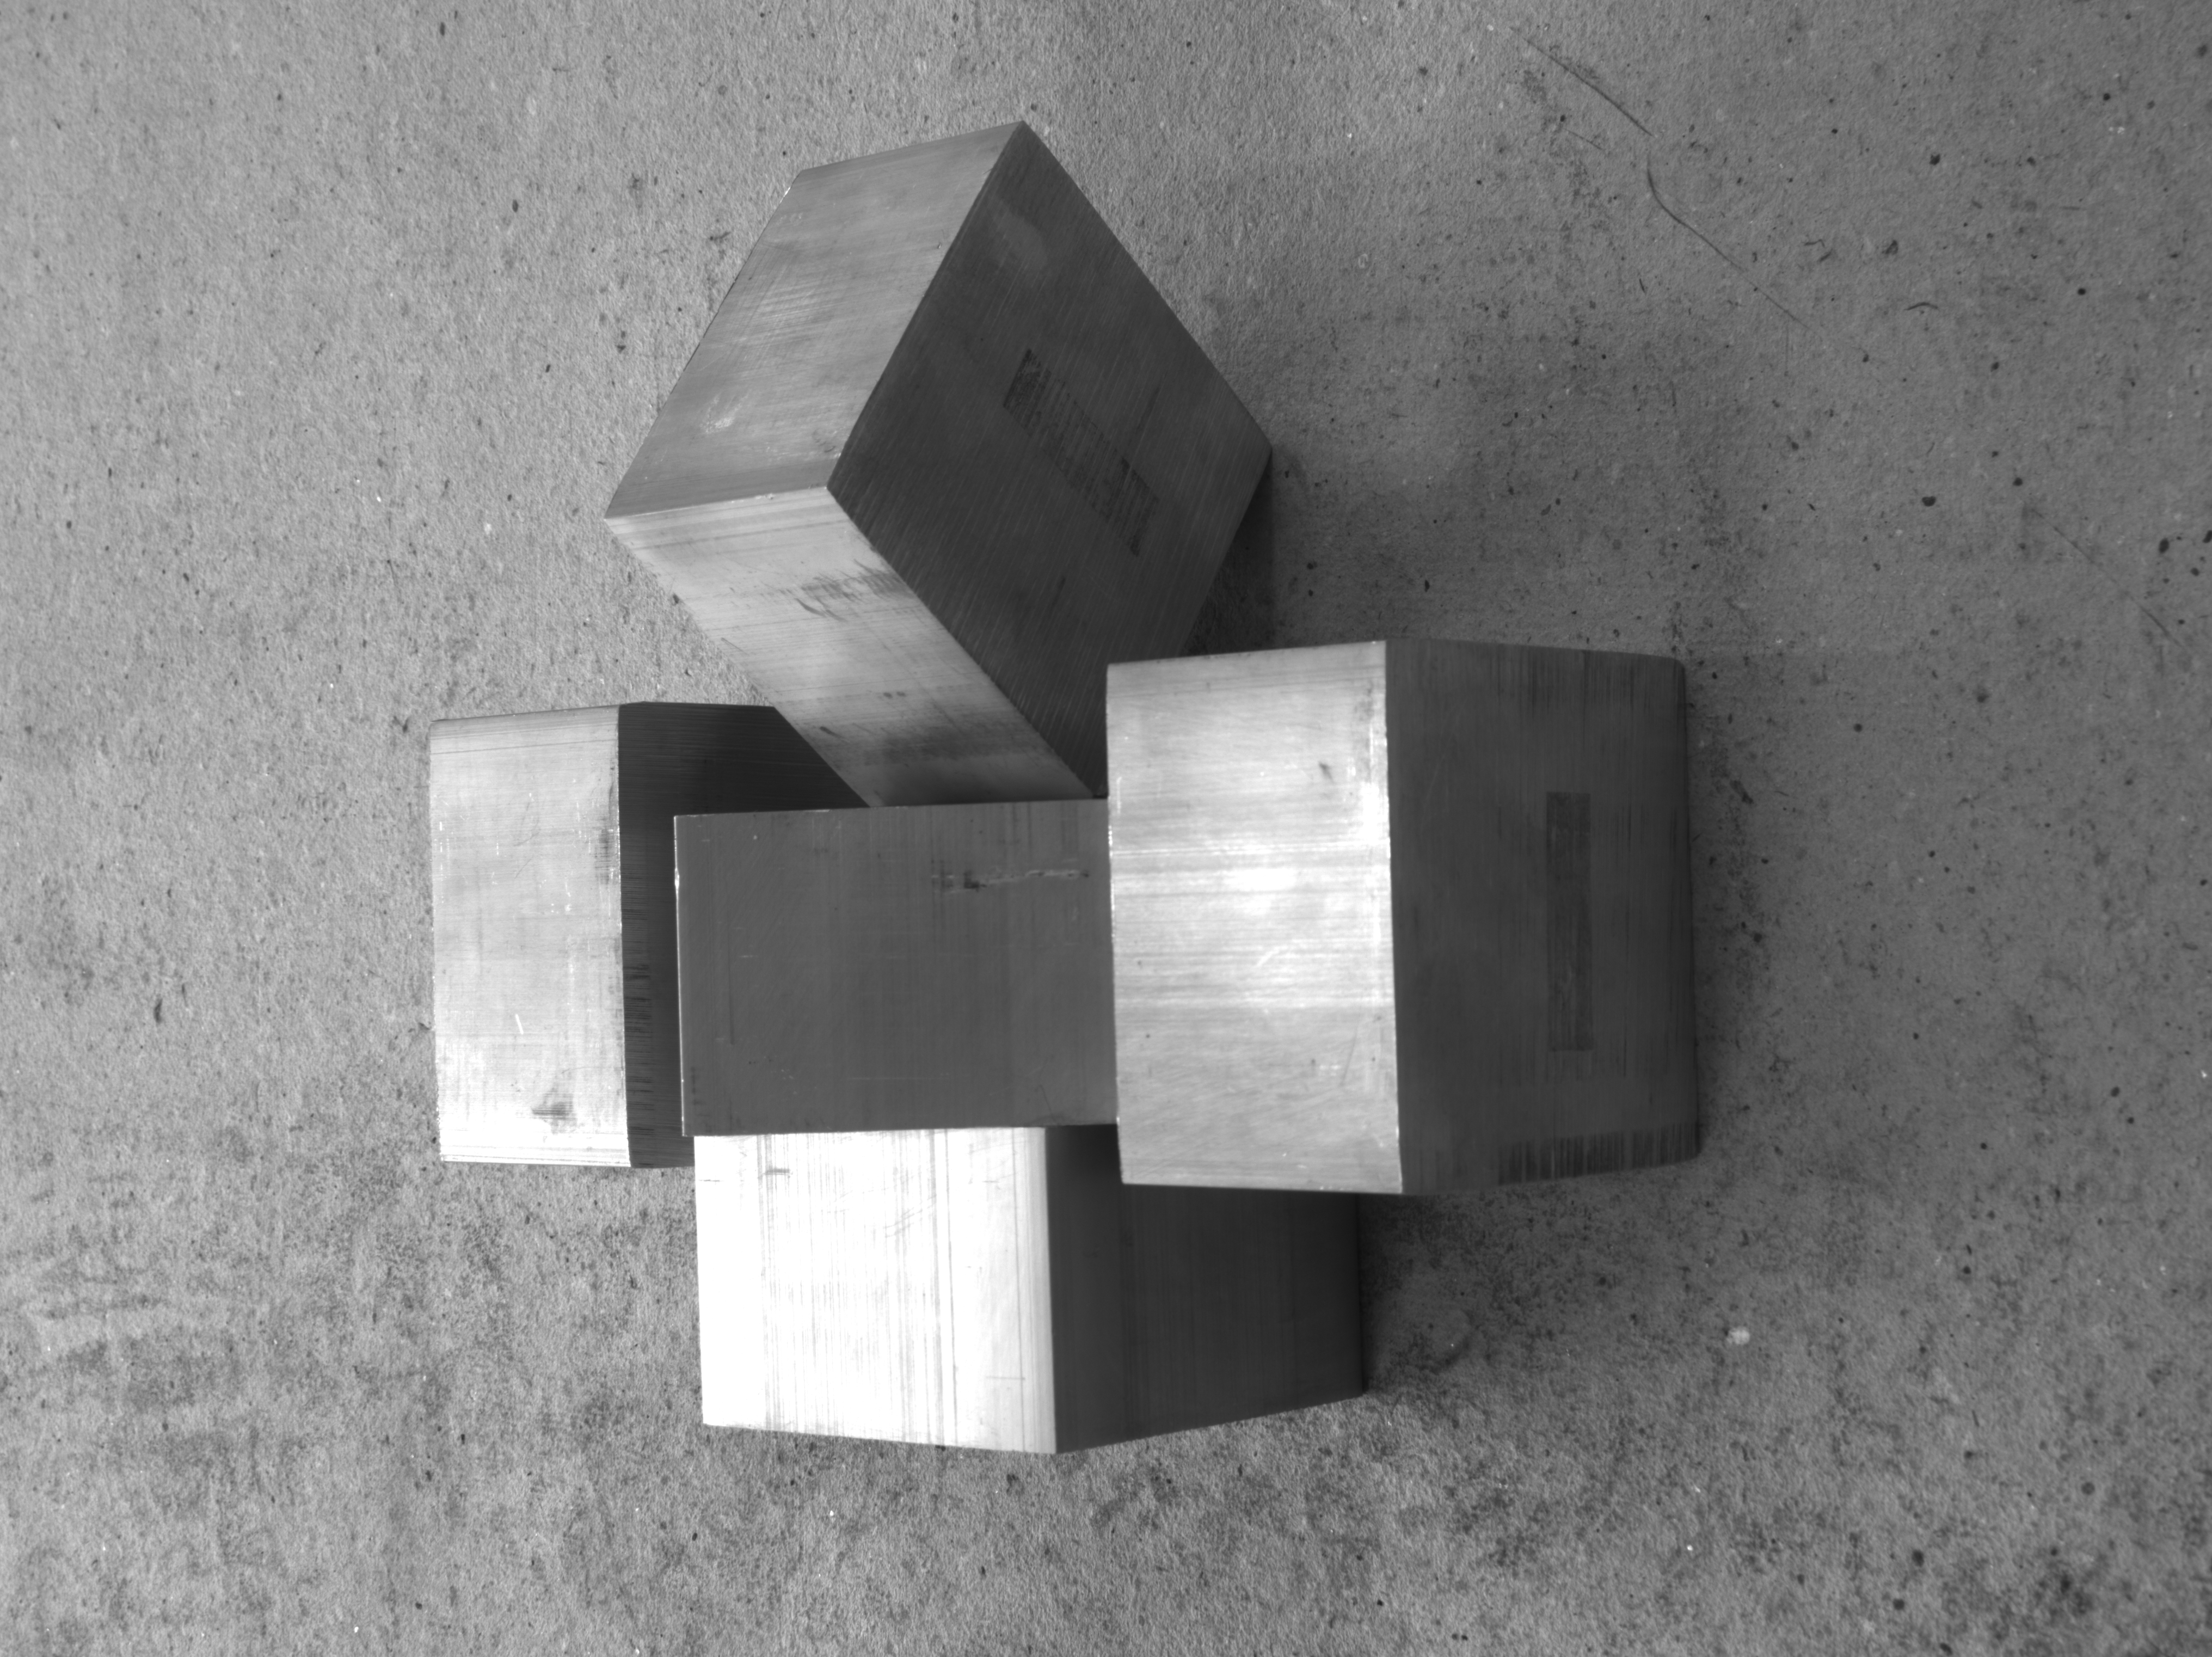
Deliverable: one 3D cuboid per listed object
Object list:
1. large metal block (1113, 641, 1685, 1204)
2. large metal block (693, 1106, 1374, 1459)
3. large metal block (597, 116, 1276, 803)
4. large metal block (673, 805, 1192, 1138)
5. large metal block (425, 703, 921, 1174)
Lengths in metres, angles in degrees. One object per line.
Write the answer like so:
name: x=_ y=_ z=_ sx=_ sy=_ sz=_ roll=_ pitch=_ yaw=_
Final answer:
large metal block: x=0.046 y=0.015 z=0.570 sx=0.050 sy=0.080 sz=0.080 roll=-3 pitch=87 yaw=39
large metal block: x=-0.012 y=0.073 z=0.620 sx=0.080 sy=0.080 sz=0.050 roll=-4 pitch=88 yaw=40
large metal block: x=-0.026 y=-0.057 z=0.612 sx=0.050 sy=0.080 sz=0.080 roll=-4 pitch=50 yaw=40
large metal block: x=-0.024 y=0.023 z=0.610 sx=0.080 sy=0.080 sz=0.050 roll=-2 pitch=88 yaw=5
large metal block: x=-0.076 y=0.020 z=0.672 sx=0.050 sy=0.080 sz=0.080 roll=-3 pitch=88 yaw=40
